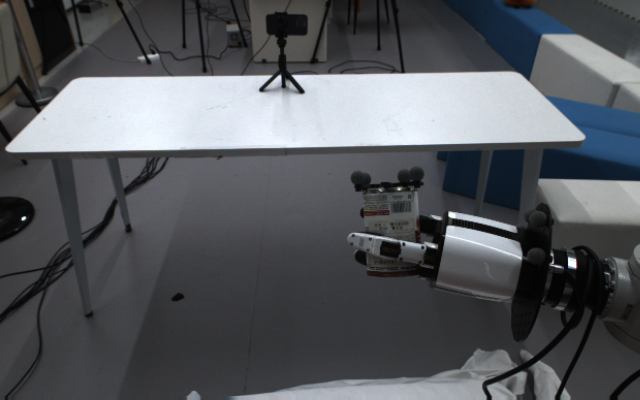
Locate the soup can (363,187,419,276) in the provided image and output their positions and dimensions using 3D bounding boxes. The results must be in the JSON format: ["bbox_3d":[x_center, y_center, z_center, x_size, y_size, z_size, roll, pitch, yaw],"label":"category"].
[{"bbox_3d":[0.089,0.038,0.581,0.067,0.101,0.067,-3,-1,0],"label":"soup can"}]
